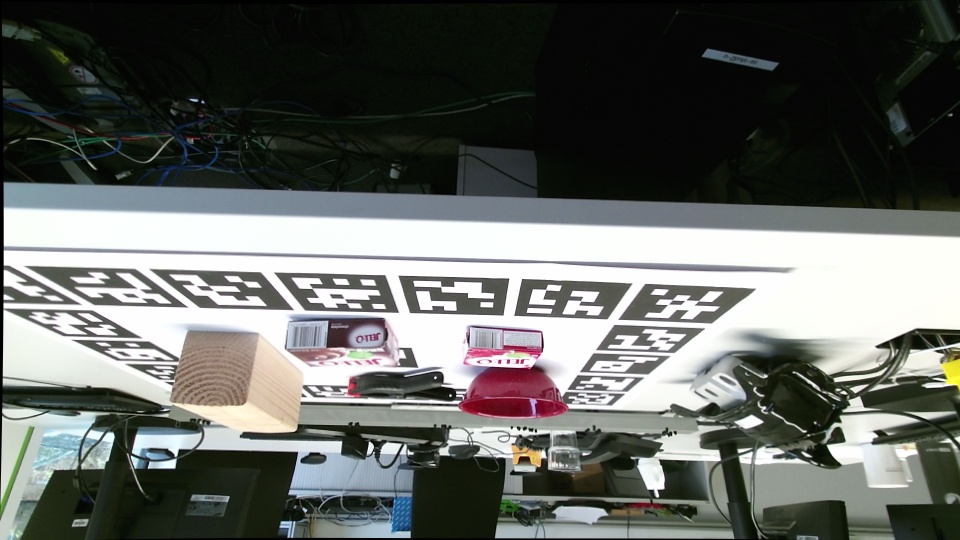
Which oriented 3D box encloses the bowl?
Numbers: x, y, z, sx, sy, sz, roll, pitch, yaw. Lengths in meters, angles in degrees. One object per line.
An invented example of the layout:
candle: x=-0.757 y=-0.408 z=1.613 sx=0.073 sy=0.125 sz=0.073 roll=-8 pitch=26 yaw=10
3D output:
bowl: x=0.046 y=0.184 z=0.795 sx=0.162 sy=0.055 sz=0.162 roll=2 pitch=149 yaw=1

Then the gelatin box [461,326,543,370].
gelatin box: x=0.024 y=0.098 z=0.647 sx=0.090 sy=0.030 sz=0.073 roll=5 pitch=150 yaw=-7

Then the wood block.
wood block: x=-0.324 y=0.164 z=0.724 sx=0.090 sy=0.090 sz=0.206 roll=4 pitch=151 yaw=-2

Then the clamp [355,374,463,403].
clamp: x=-0.116 y=0.190 z=0.837 sx=0.166 sy=0.036 sz=0.122 roll=-2 pitch=152 yaw=10

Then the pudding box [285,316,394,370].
pudding box: x=-0.163 y=0.089 z=0.635 sx=0.114 sy=0.038 sz=0.090 roll=-1 pitch=148 yaw=-1
